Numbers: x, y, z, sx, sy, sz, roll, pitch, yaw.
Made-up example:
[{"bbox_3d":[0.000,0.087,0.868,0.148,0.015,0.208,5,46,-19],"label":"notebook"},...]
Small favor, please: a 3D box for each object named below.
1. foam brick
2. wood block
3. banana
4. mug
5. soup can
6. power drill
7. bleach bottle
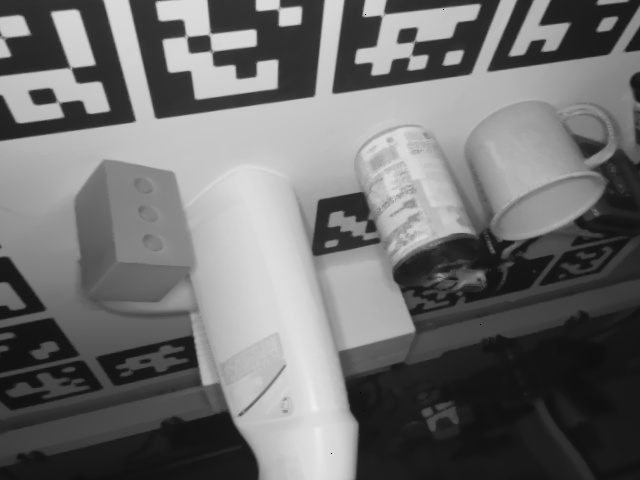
[{"bbox_3d":[-0.125,-0.017,0.485,0.053,0.078,0.050,10,141,-38],"label":"foam brick"},{"bbox_3d":[-0.006,0.098,0.698,0.208,0.091,0.089,-11,146,-9],"label":"wood block"},{"bbox_3d":[-0.089,0.046,0.623,0.200,0.039,0.073,0,130,-21],"label":"banana"},{"bbox_3d":[0.180,-0.065,0.546,0.094,0.082,0.115,22,127,-42],"label":"mug"},{"bbox_3d":[0.078,-0.030,0.522,0.068,0.102,0.067,-11,150,-5],"label":"soup can"},{"bbox_3d":[0.219,-0.007,0.684,0.187,0.057,0.184,10,139,-31],"label":"power drill"},{"bbox_3d":[-0.029,0.065,0.488,0.069,0.251,0.101,8,141,-33],"label":"bleach bottle"}]
